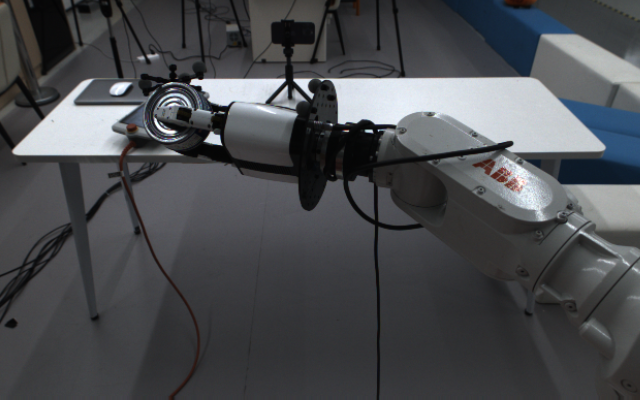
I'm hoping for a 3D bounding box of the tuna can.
[{"bbox_3d":[-0.185,-0.109,0.630,0.085,0.085,0.034,12,-6,14],"label":"tuna can"}]
